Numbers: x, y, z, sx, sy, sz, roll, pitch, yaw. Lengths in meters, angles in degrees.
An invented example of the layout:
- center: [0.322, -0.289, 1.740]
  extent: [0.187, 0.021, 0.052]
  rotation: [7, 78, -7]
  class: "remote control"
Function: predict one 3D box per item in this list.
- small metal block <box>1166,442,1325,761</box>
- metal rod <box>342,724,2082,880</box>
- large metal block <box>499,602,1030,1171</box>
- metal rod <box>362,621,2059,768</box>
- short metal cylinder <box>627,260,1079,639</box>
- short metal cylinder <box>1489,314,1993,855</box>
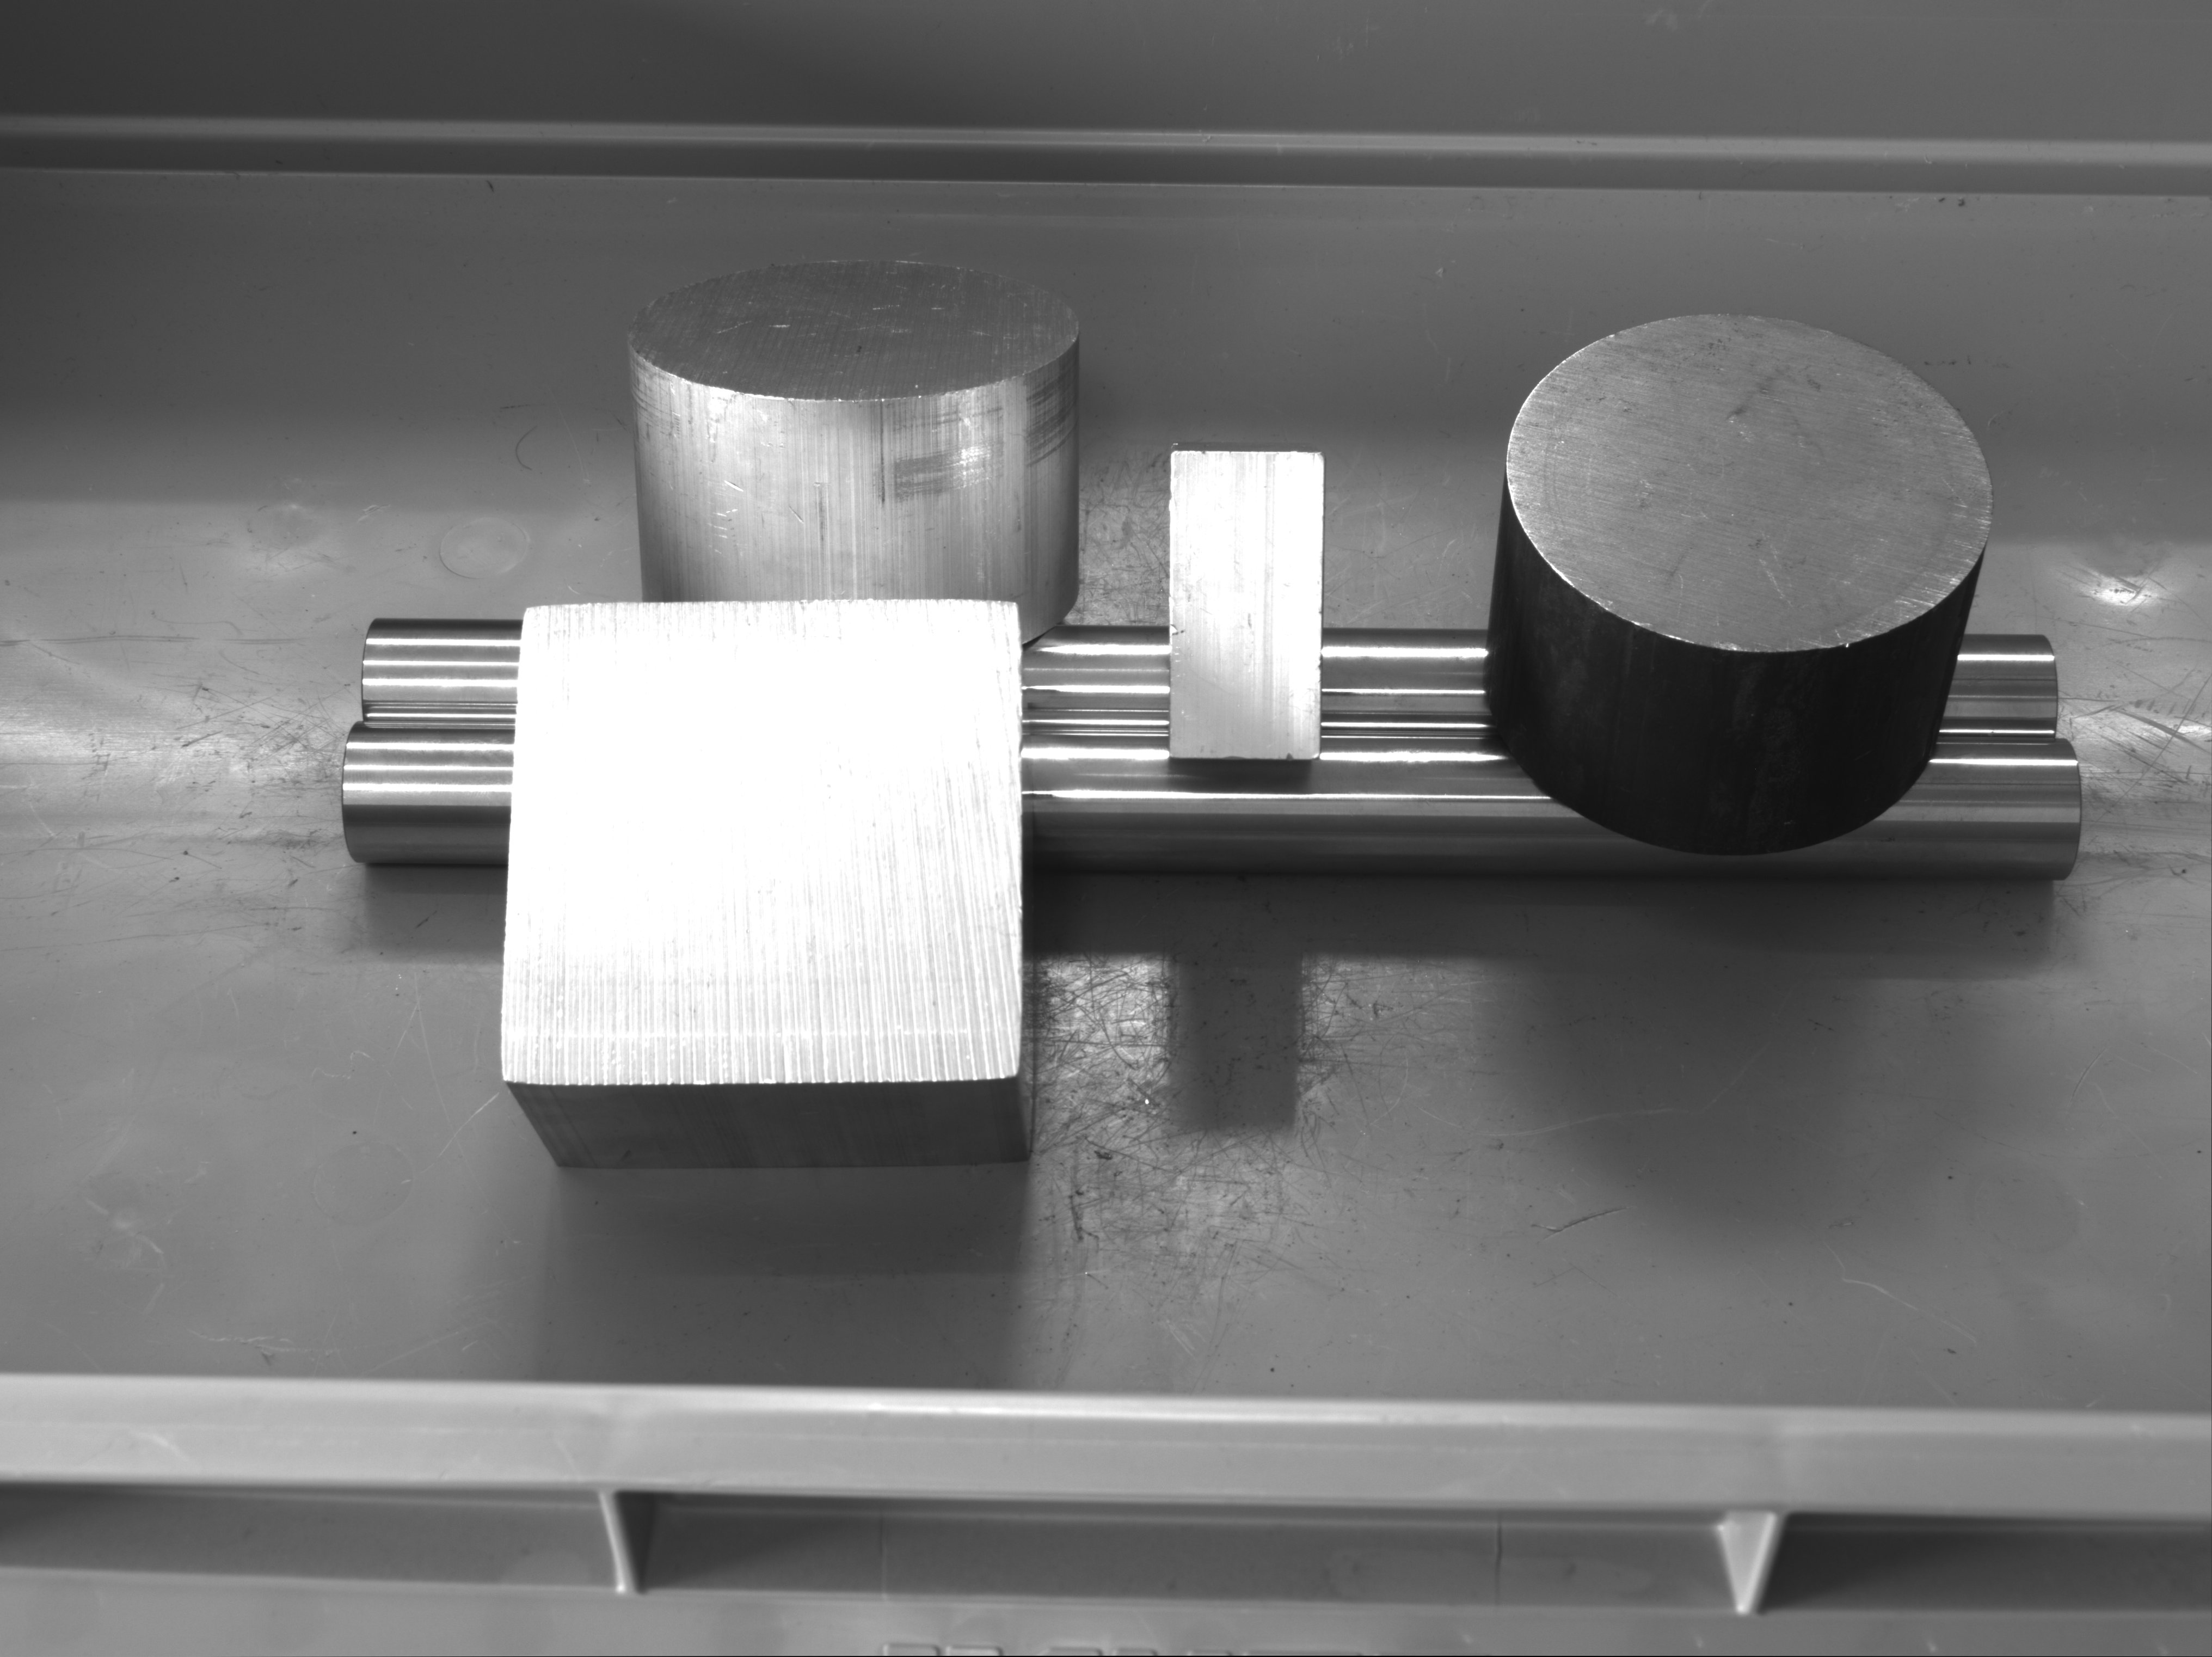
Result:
- center: [0.023, -0.039, 0.621]
  extent: [0.025, 0.050, 0.050]
  rotation: [1, 8, 1]
  class: "small metal block"
- center: [0.018, -0.005, 0.645]
  extent: [0.300, 0.025, 0.025]
  rotation: [0, 50, 0]
  class: "metal rod"
- center: [-0.053, 0.010, 0.598]
  extent: [0.080, 0.050, 0.080]
  rotation: [0, 70, 0]
  class: "large metal block"
- center: [0.018, -0.024, 0.662]
  extent: [0.300, 0.025, 0.025]
  rotation: [0, 50, 0]
  class: "metal rod"
- center: [-0.045, -0.067, 0.662]
  extent: [0.080, 0.050, 0.080]
  rotation: [0, 26, 0]
  class: "short metal cylinder"
- center: [0.107, -0.042, 0.628]
  extent: [0.080, 0.050, 0.080]
  rotation: [0, 50, 0]
  class: "short metal cylinder"
